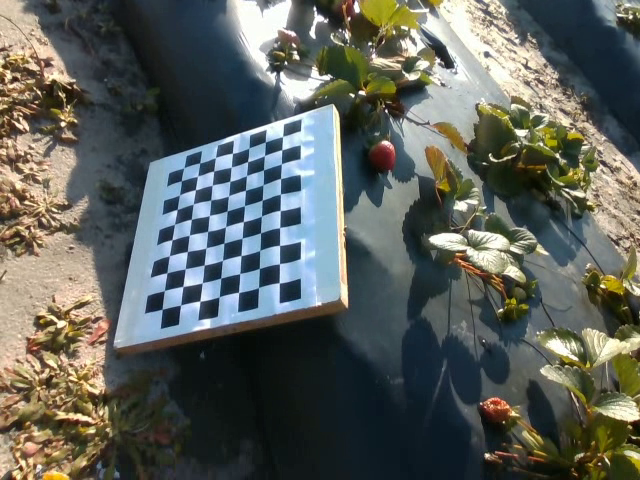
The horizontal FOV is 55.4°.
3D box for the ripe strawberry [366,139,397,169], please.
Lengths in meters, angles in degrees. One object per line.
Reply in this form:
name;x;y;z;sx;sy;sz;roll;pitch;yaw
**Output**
ripe strawberry;0.092;-0.117;0.846;0.044;0.064;0.044;-29;-38;7
